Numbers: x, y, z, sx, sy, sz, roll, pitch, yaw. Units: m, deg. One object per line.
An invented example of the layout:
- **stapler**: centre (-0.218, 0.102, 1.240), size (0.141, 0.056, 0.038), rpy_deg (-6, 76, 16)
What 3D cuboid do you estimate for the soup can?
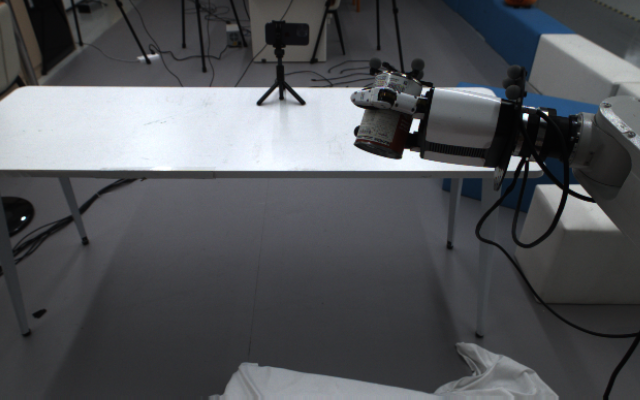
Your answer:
- **soup can**: centre (0.092, -0.115, 0.657), size (0.067, 0.101, 0.067), rpy_deg (18, -2, 1)
